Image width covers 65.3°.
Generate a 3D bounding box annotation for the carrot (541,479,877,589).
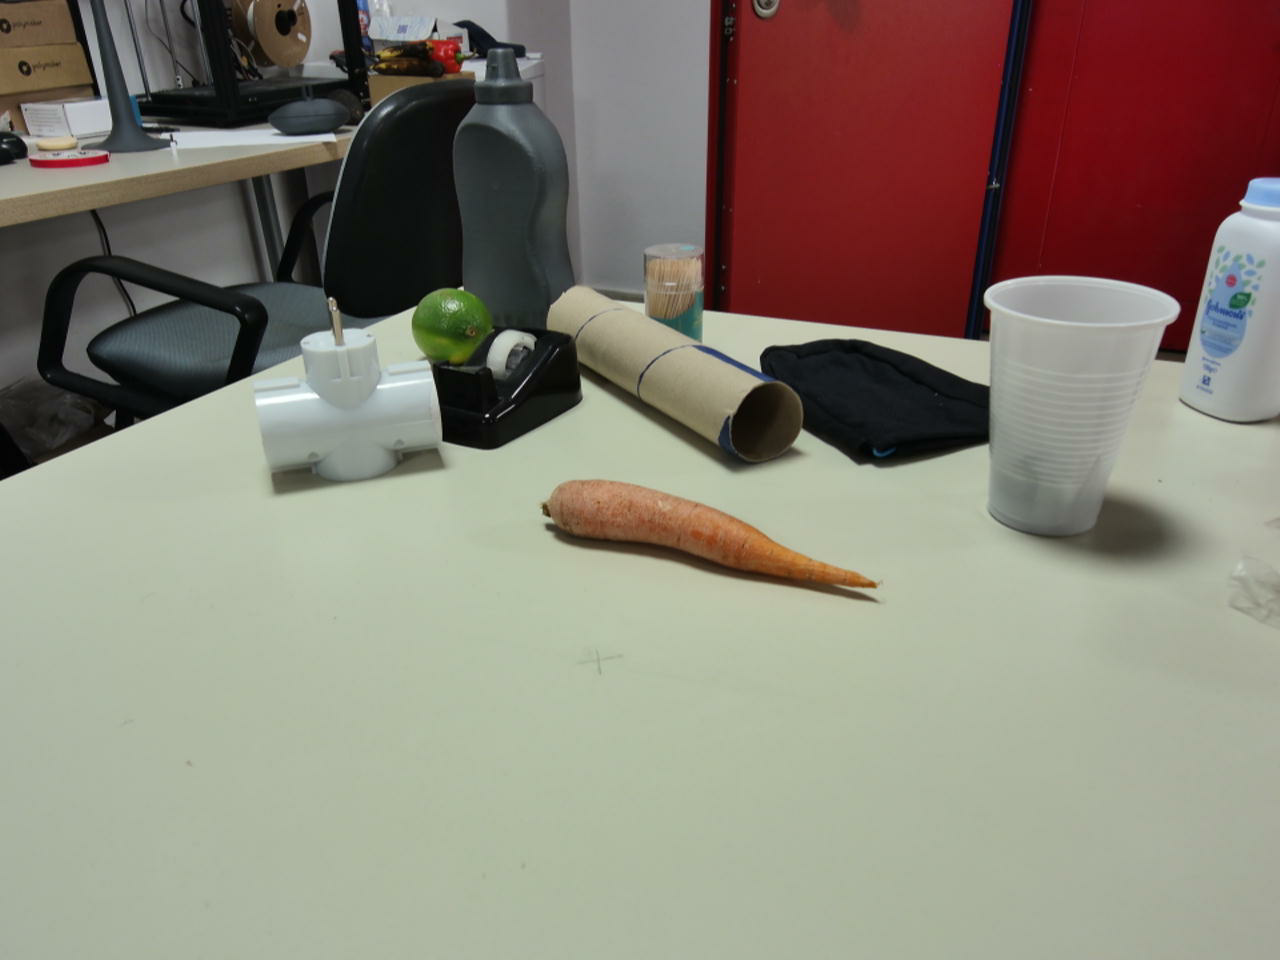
[{"bbox_3d":[0.027,0.023,0.451,0.163,0.029,0.031,11,26,23],"label":"carrot"}]
